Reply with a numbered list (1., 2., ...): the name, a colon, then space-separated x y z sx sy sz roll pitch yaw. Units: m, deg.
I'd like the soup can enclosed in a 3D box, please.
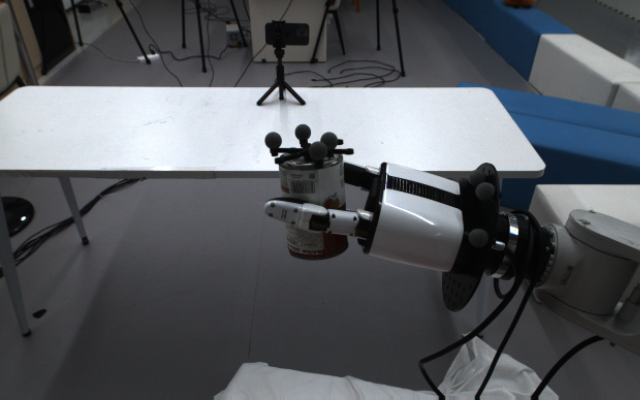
1. soup can: -0.004 0.002 0.508 0.067 0.101 0.067 -4 21 2
